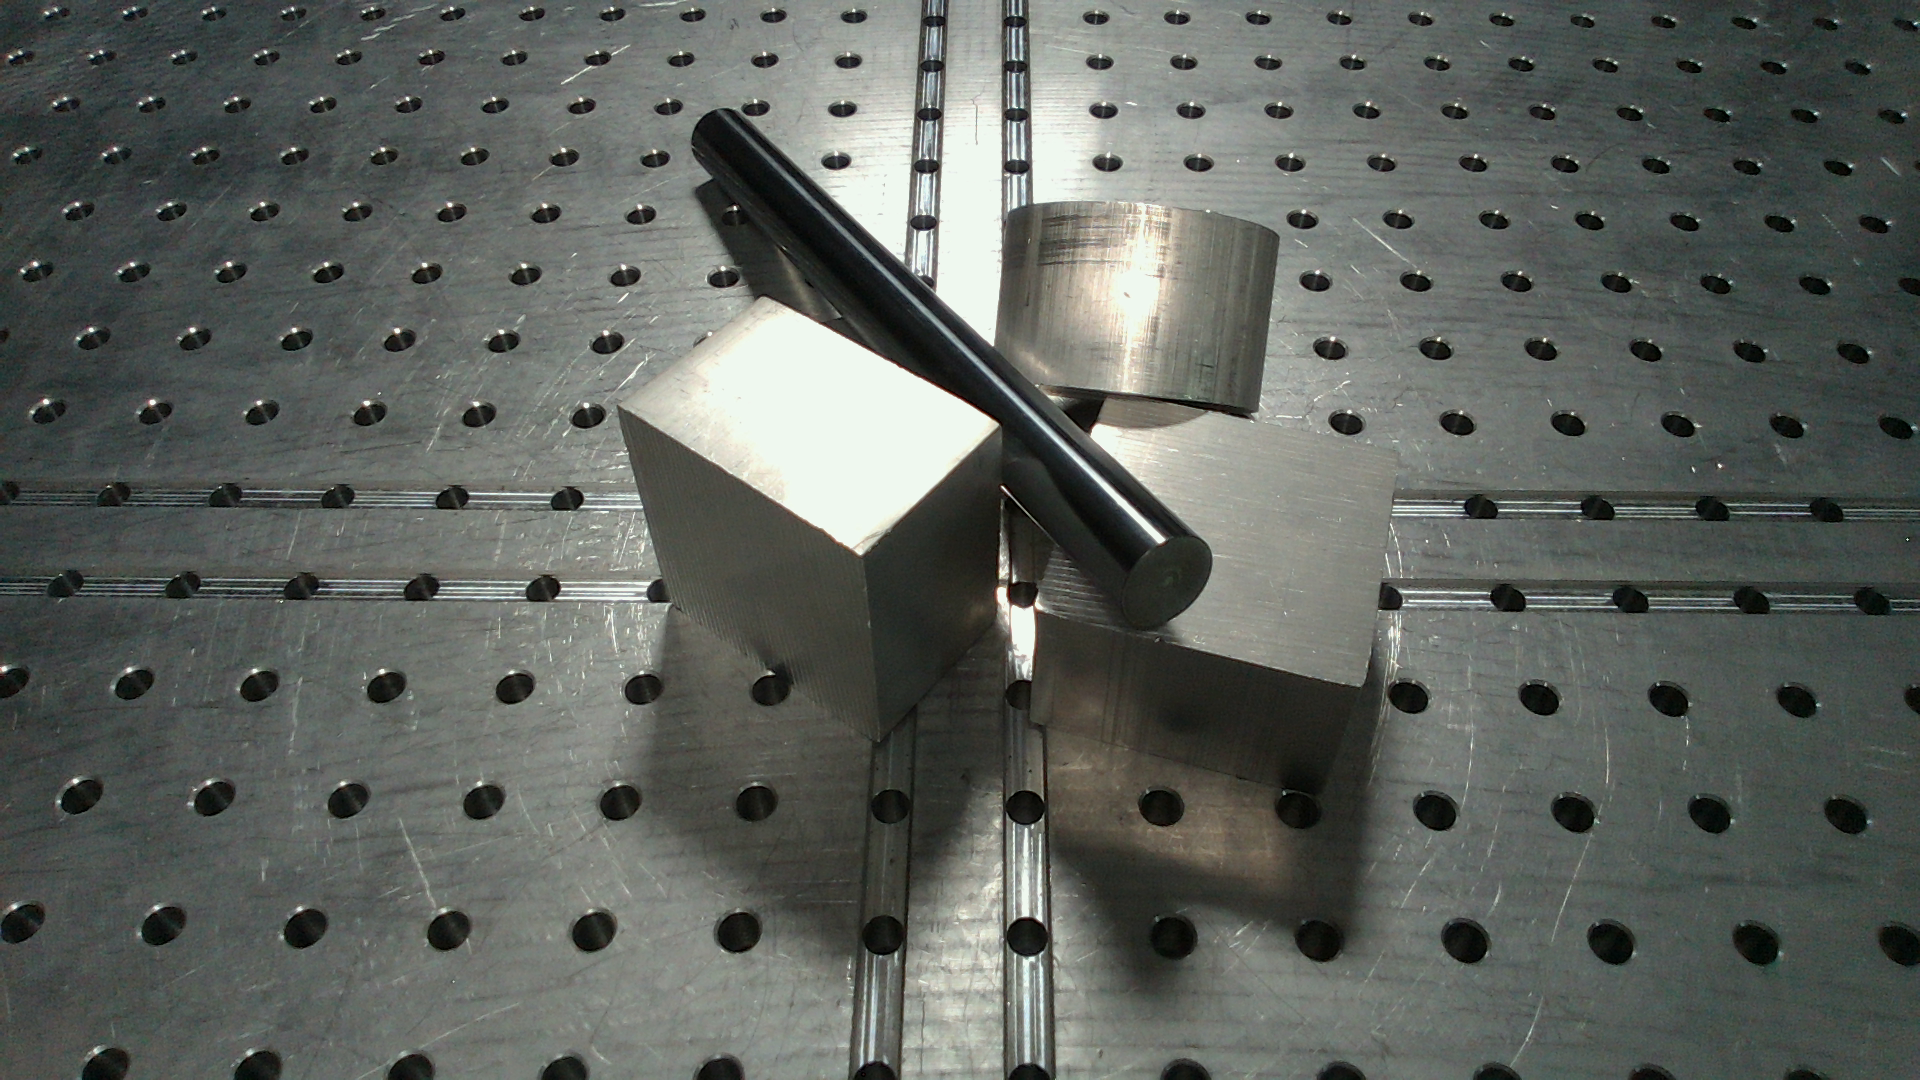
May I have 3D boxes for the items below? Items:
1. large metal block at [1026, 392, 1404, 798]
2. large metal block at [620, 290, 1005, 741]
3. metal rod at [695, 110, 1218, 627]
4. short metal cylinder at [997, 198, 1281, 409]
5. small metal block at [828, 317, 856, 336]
[{"bbox_3d":[0.068,0.012,0.367,0.080,0.050,0.080,14,51,11],"label":"large metal block"},{"bbox_3d":[-0.036,-0.006,0.363,0.080,0.080,0.050,30,56,23],"label":"large metal block"},{"bbox_3d":[-0.020,-0.071,0.415,0.025,0.025,0.299,-22,42,-17],"label":"metal rod"},{"bbox_3d":[0.051,-0.067,0.407,0.080,0.080,0.050,7,94,6],"label":"short metal cylinder"},{"bbox_3d":[-0.034,-0.044,0.432,0.050,0.025,0.050,-19,52,-15],"label":"small metal block"}]
